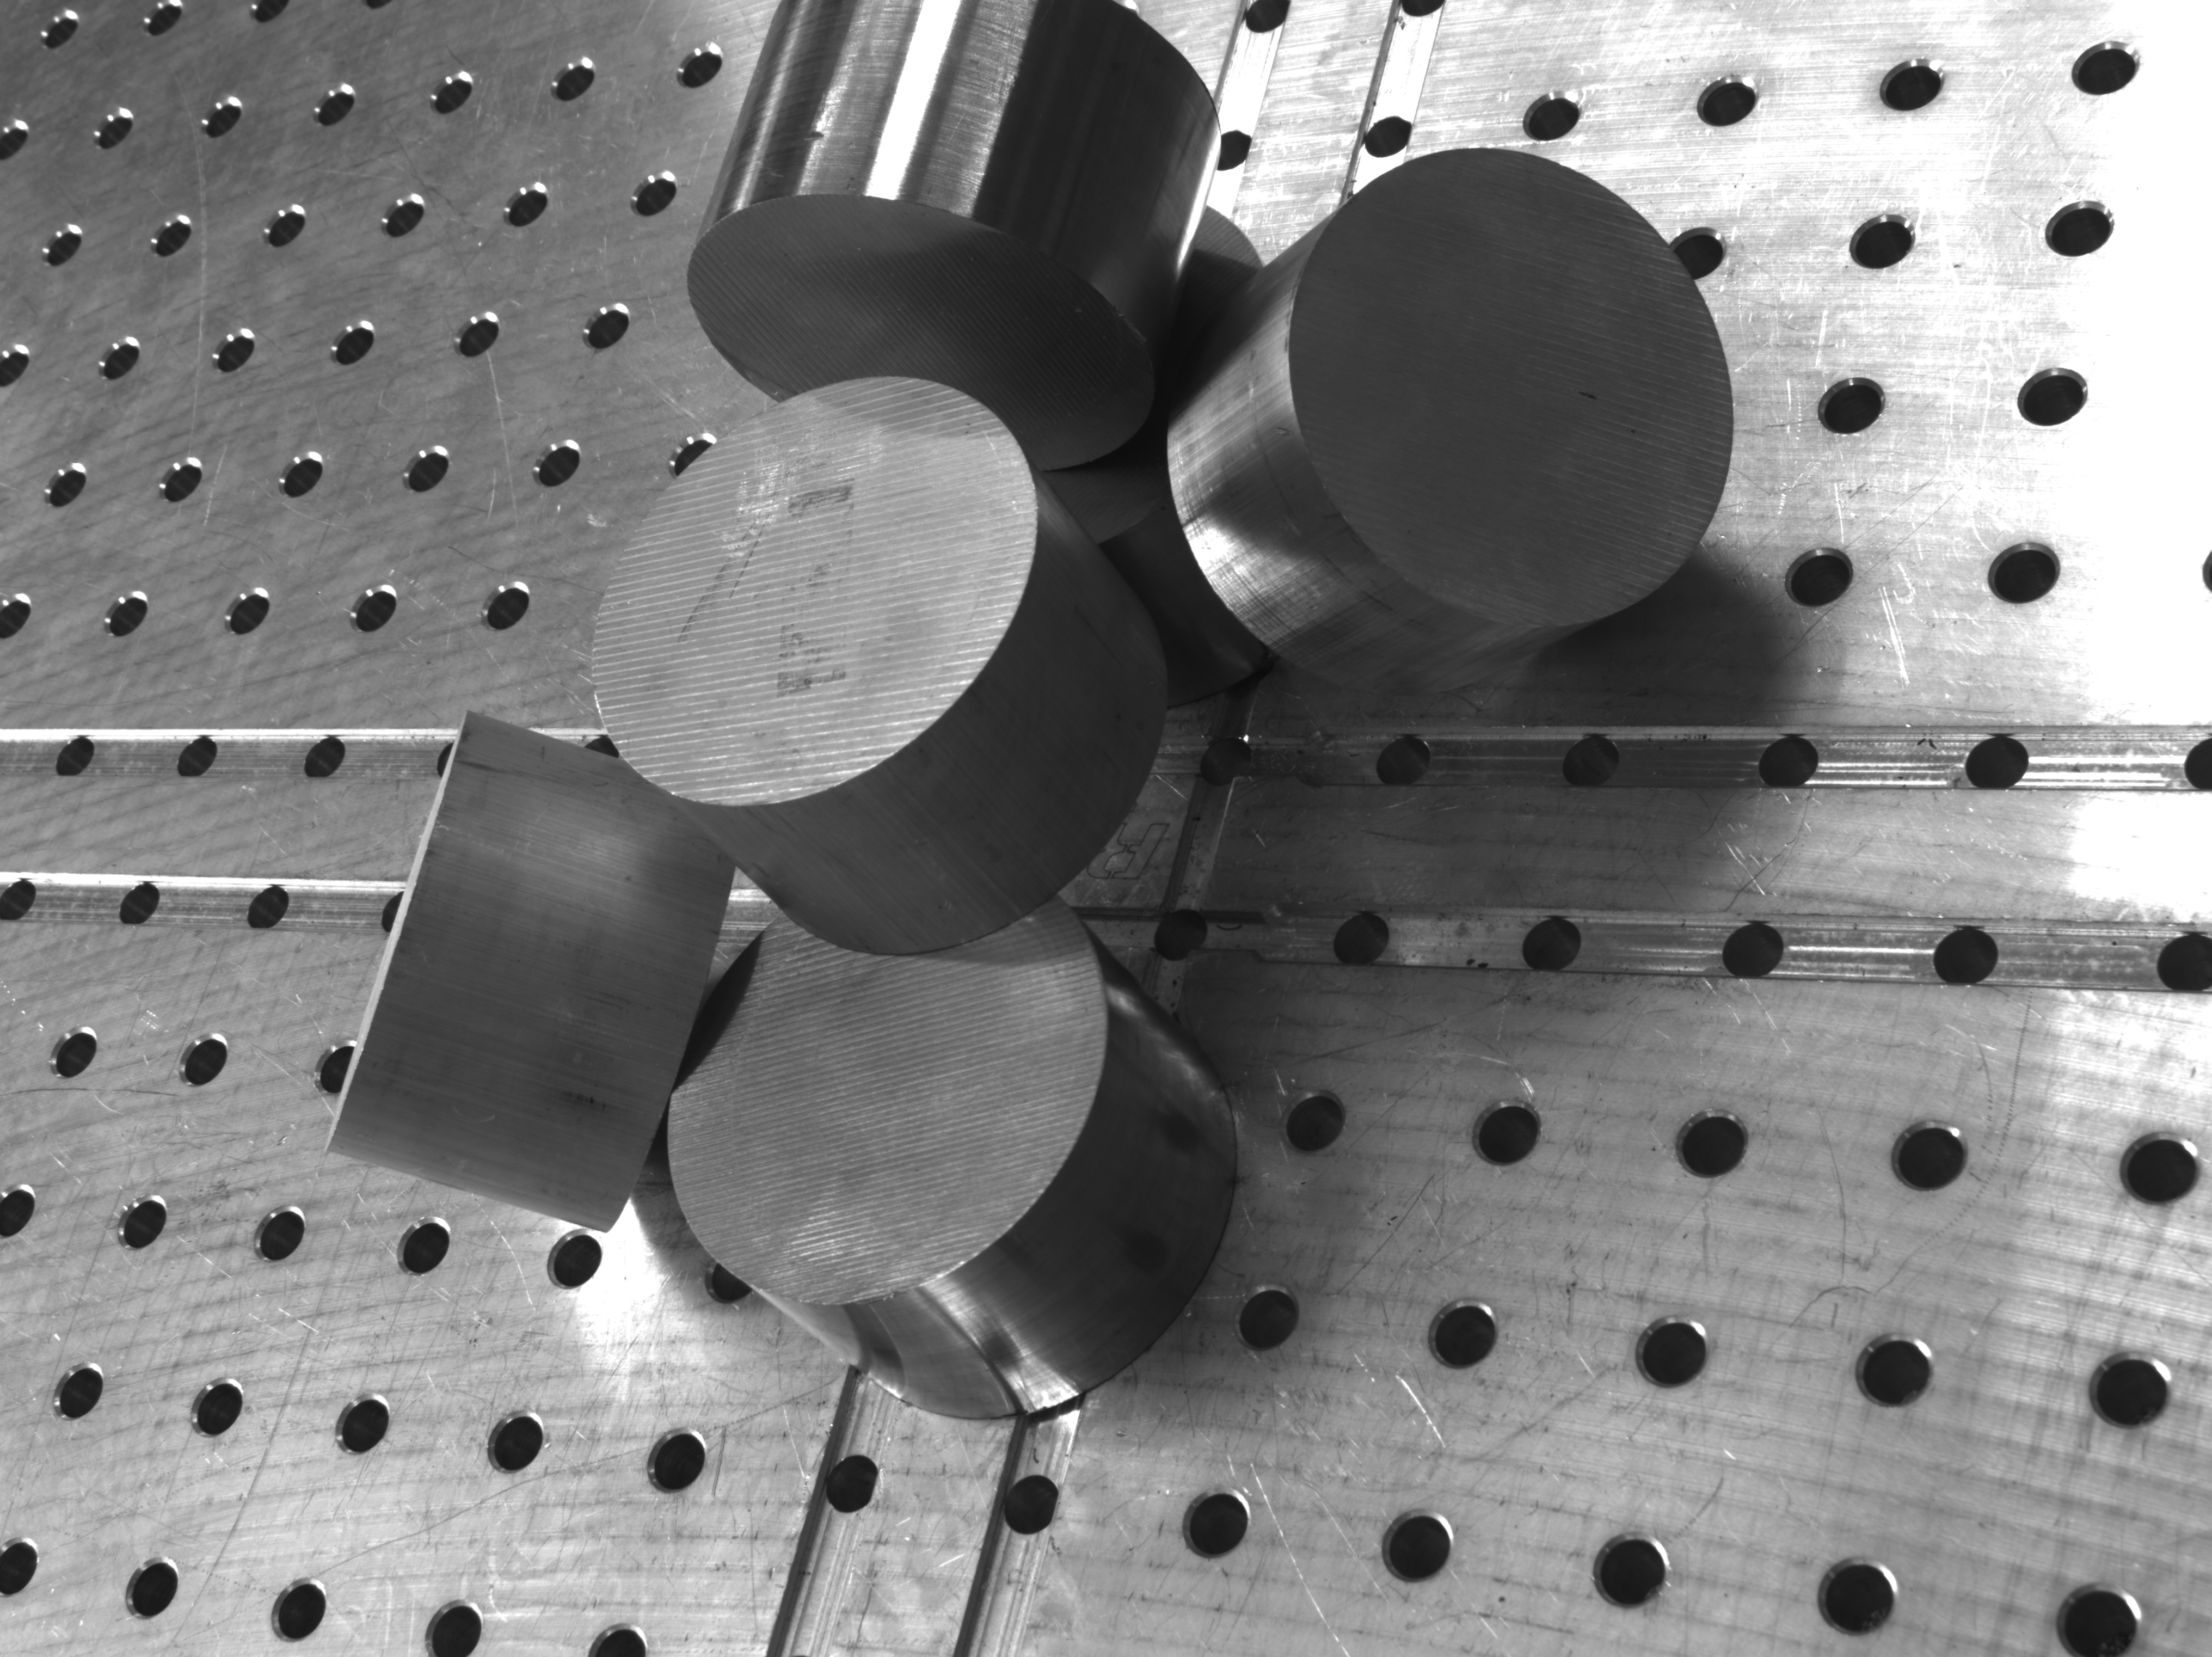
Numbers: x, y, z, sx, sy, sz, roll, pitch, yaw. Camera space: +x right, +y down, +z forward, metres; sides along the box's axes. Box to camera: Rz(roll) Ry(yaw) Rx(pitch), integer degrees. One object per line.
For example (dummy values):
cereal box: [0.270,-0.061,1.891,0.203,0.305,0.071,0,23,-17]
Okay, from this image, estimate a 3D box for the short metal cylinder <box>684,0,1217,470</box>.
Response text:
short metal cylinder: [-0.026,-0.103,0.624,0.080,0.080,0.050,0,62,29]

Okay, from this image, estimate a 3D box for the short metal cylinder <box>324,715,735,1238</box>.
short metal cylinder: [-0.100,0.026,0.644,0.050,0.080,0.080,18,64,-12]

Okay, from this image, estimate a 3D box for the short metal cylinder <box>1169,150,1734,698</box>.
short metal cylinder: [0.057,-0.066,0.614,0.080,0.080,0.050,-66,14,-19]

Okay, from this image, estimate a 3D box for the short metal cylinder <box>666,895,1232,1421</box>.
short metal cylinder: [-0.026,0.052,0.613,0.080,0.050,0.080,-13,57,21]

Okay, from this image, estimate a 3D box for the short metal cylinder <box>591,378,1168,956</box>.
short metal cylinder: [-0.037,-0.026,0.602,0.080,0.050,0.080,-14,56,21]

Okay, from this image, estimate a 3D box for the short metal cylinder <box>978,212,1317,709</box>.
short metal cylinder: [0.003,-0.068,0.673,0.080,0.050,0.080,-13,56,21]
